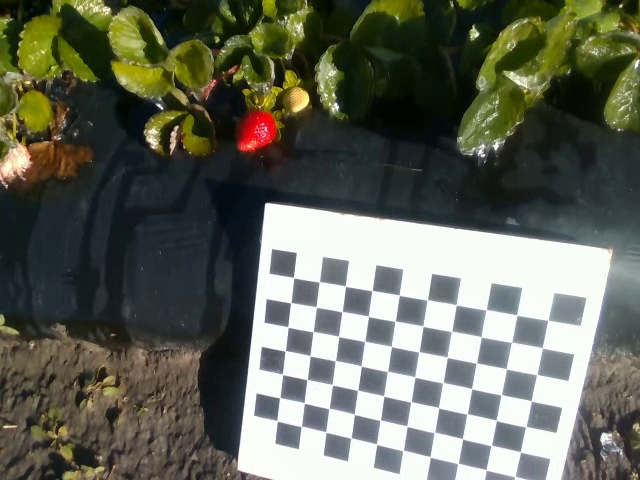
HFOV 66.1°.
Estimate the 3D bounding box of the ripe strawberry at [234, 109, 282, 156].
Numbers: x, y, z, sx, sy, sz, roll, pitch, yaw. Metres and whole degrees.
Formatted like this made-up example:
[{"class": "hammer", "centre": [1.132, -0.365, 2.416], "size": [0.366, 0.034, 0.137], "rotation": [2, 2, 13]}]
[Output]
[{"class": "ripe strawberry", "centre": [-0.049, -0.076, 0.352], "size": [0.039, 0.040, 0.039], "rotation": [1, 34, 22]}]
